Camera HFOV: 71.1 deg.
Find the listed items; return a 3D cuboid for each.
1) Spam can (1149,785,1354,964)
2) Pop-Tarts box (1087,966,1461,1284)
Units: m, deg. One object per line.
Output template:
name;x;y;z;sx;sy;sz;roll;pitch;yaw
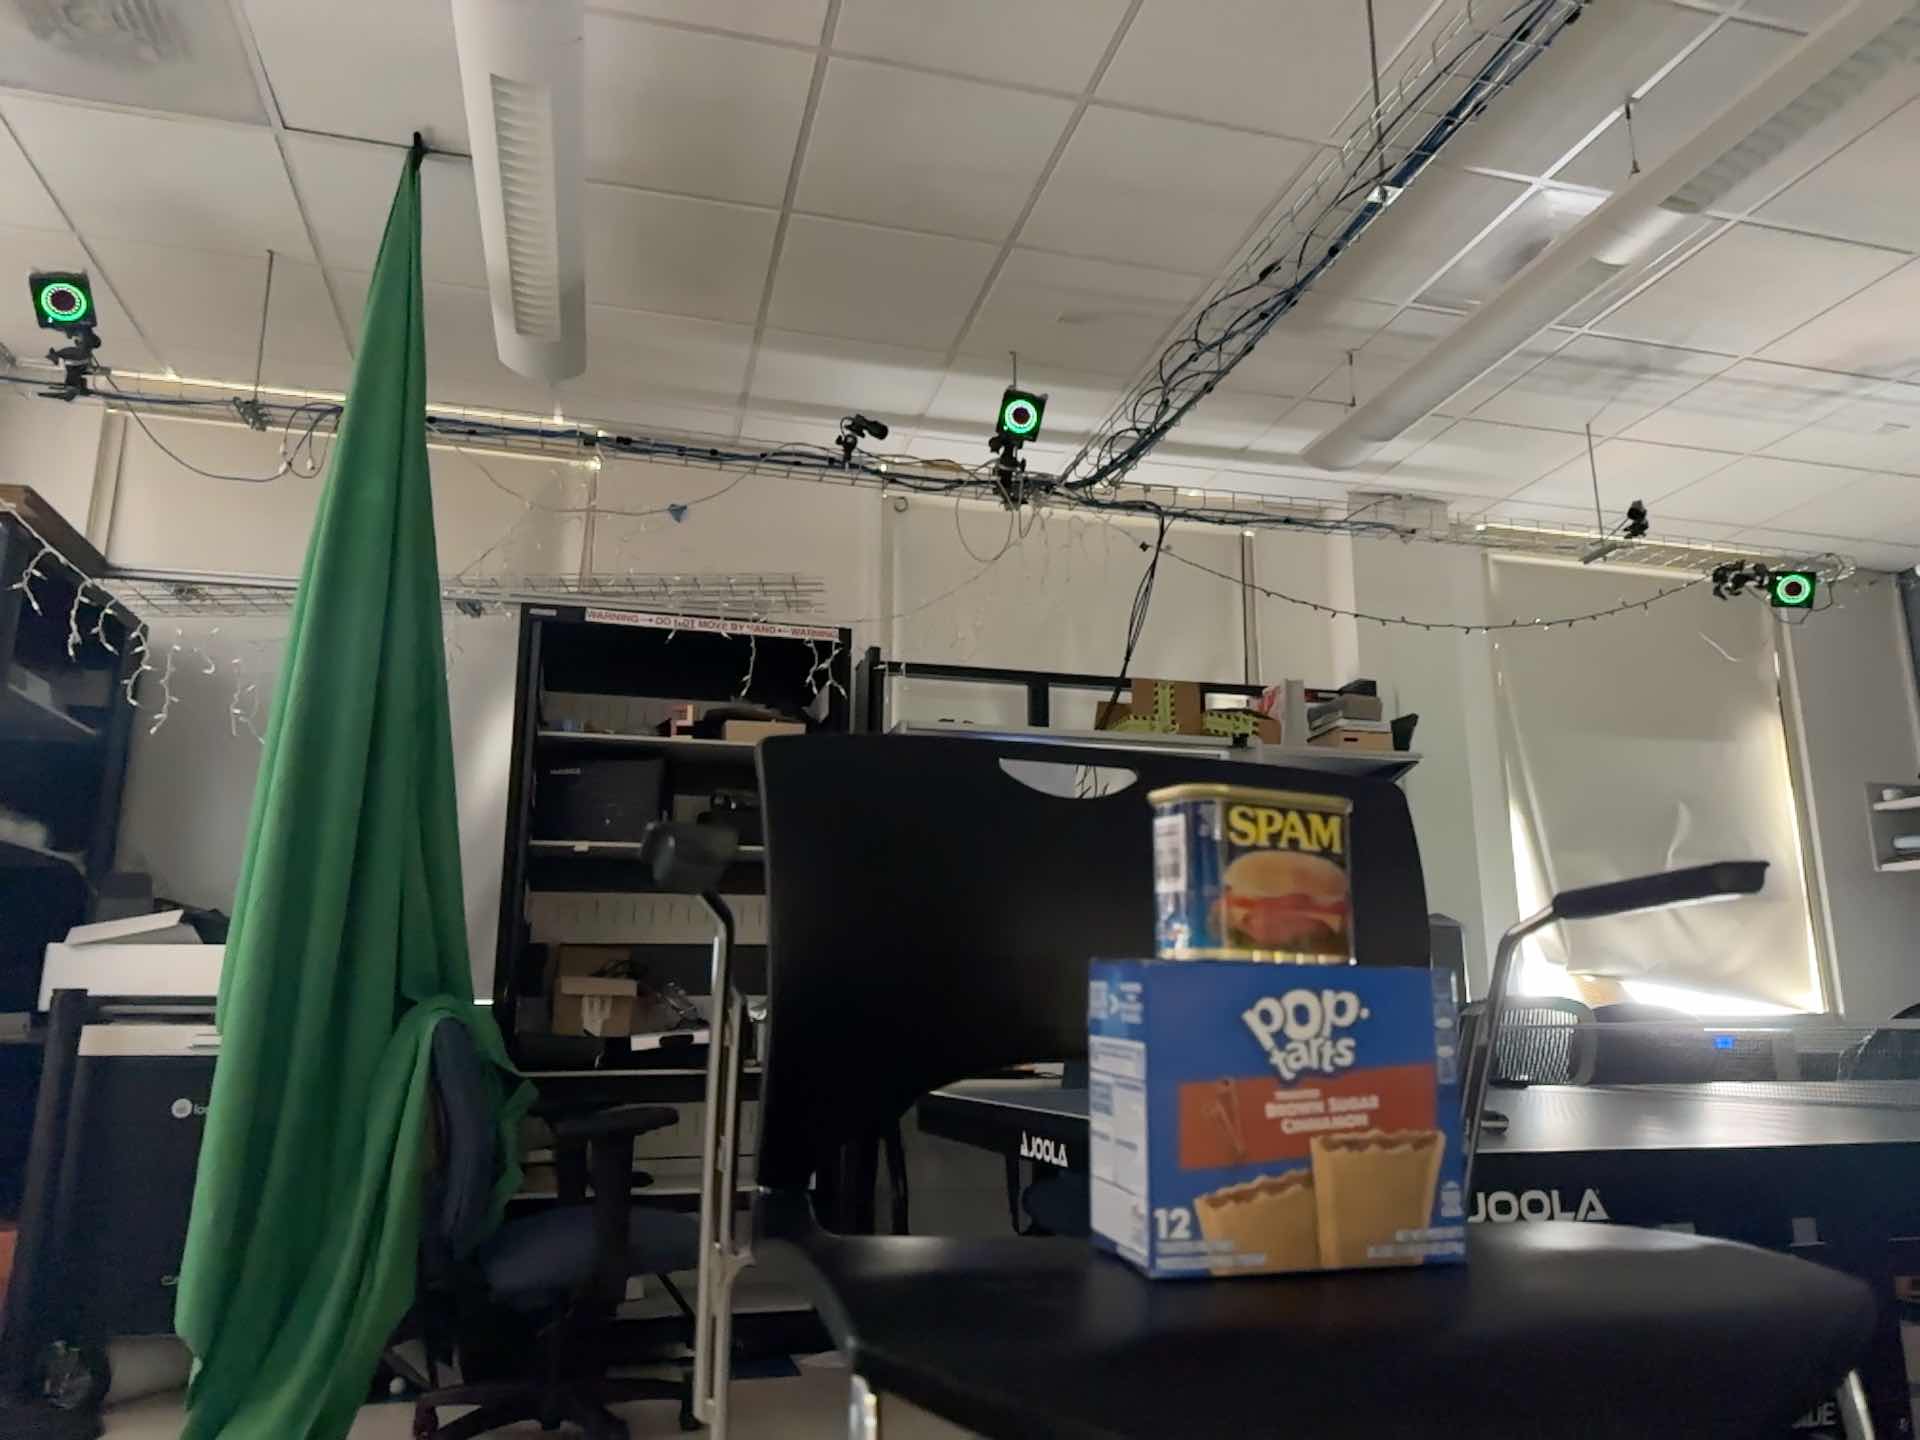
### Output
Spam can;0.148;0.080;0.685;0.100;0.083;0.056;5;-10;-20
Pop-Tarts box;0.155;0.195;0.675;0.161;0.135;0.075;3;-9;-18
